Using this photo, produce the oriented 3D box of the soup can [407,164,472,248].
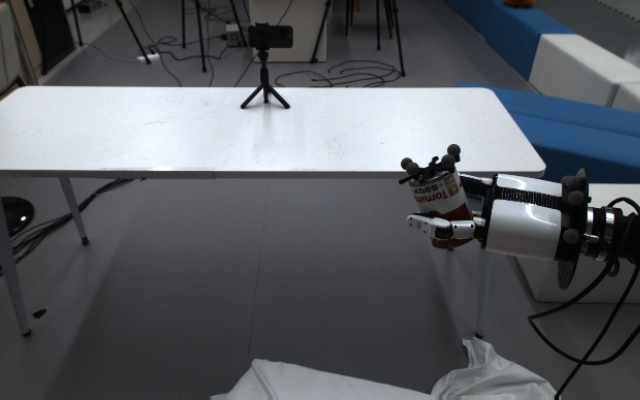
[{"bbox_3d":[0.172,0.006,0.670,0.067,0.101,0.067,-23,15,7],"label":"soup can"}]
